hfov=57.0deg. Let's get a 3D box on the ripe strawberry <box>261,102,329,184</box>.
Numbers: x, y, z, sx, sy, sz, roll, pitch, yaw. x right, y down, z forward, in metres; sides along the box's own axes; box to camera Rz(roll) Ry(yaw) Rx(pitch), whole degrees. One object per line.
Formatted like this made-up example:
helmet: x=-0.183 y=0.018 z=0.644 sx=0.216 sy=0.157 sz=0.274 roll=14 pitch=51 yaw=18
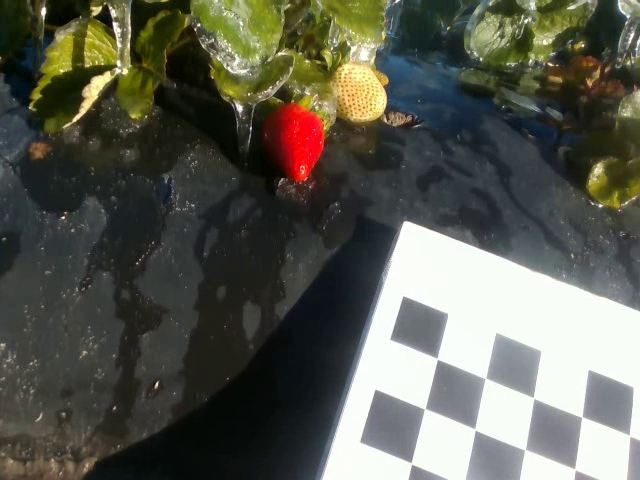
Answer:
ripe strawberry: x=-0.011 y=-0.056 z=0.312 sx=0.041 sy=0.052 sz=0.040 roll=7 pitch=-35 yaw=-8
